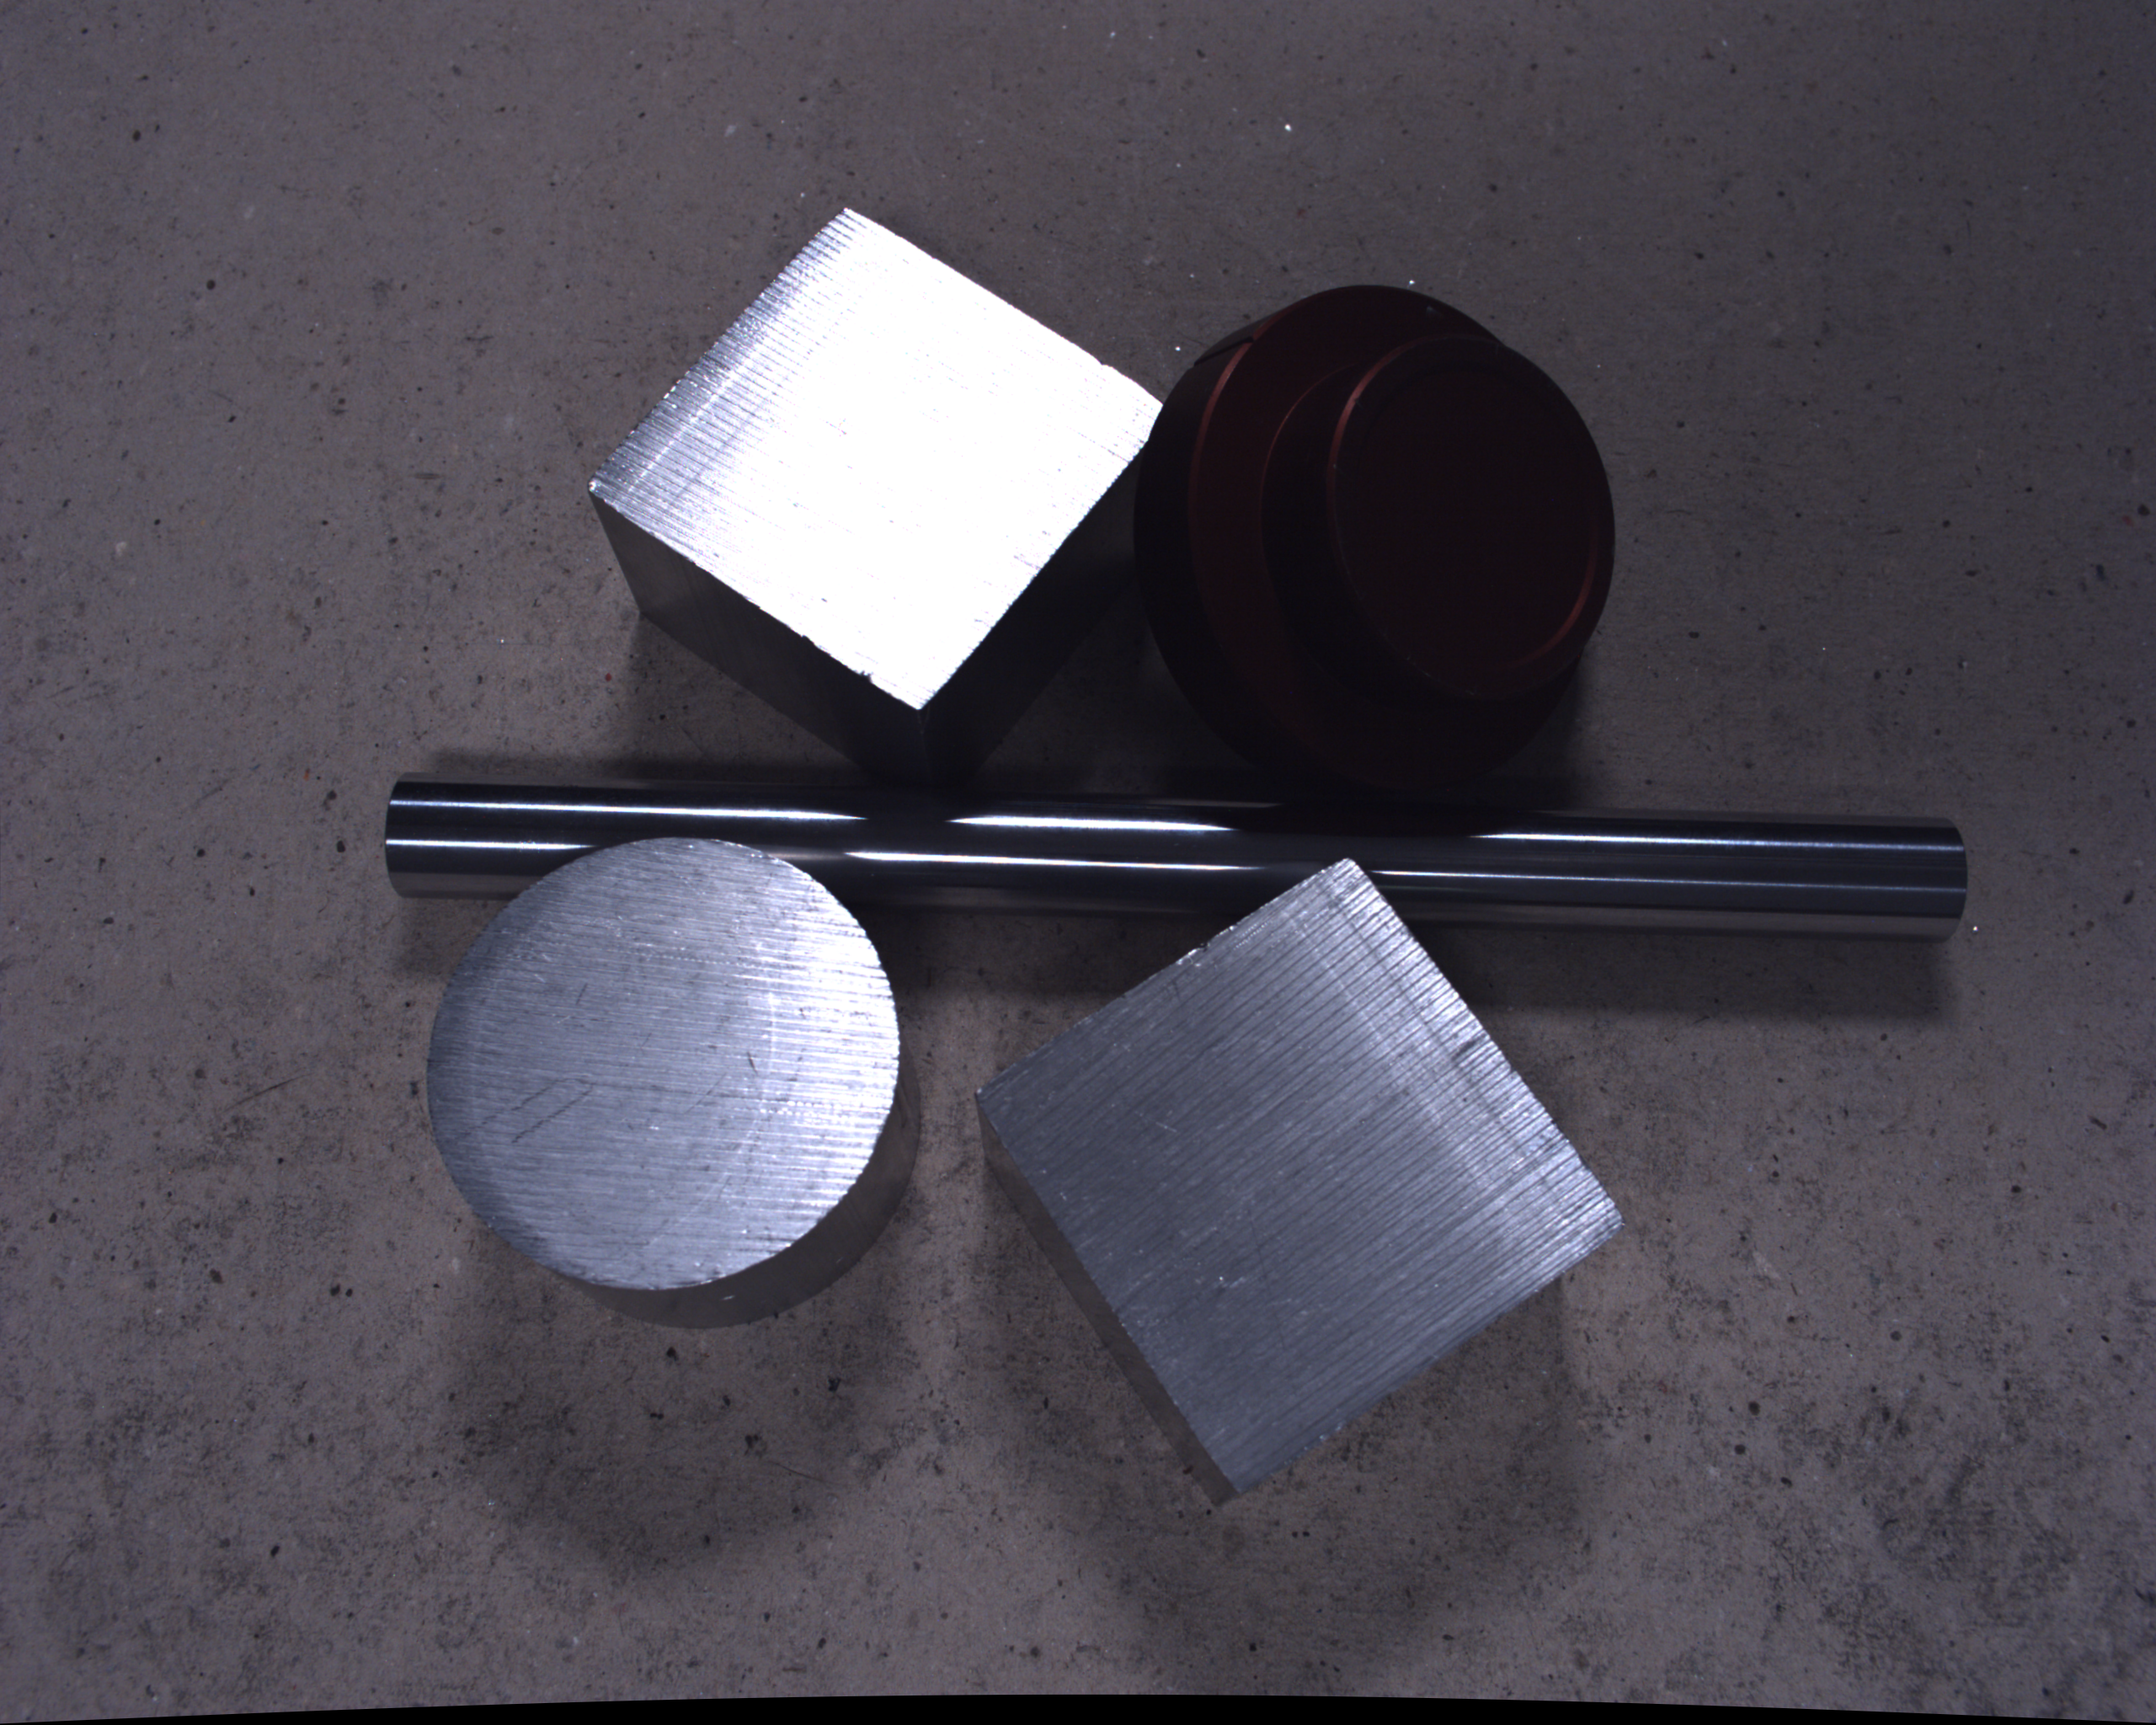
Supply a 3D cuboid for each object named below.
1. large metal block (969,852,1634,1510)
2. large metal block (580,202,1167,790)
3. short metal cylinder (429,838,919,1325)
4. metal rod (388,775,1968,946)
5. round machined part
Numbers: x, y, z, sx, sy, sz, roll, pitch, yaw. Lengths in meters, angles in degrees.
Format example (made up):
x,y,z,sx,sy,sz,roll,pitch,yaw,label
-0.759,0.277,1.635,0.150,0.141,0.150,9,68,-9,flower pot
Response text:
x,y,z,sx,sy,sz,roll,pitch,yaw,label
0.037,0.058,0.375,0.080,0.050,0.080,-32,73,-11,large metal block
-0.037,-0.071,0.419,0.080,0.050,0.080,35,73,11,large metal block
-0.070,0.041,0.380,0.081,0.050,0.080,0,70,0,short metal cylinder
0.019,0.000,0.411,0.302,0.025,0.025,2,70,0,metal rod
0.063,-0.063,0.399,0.099,0.042,0.097,2,85,-27,round machined part
